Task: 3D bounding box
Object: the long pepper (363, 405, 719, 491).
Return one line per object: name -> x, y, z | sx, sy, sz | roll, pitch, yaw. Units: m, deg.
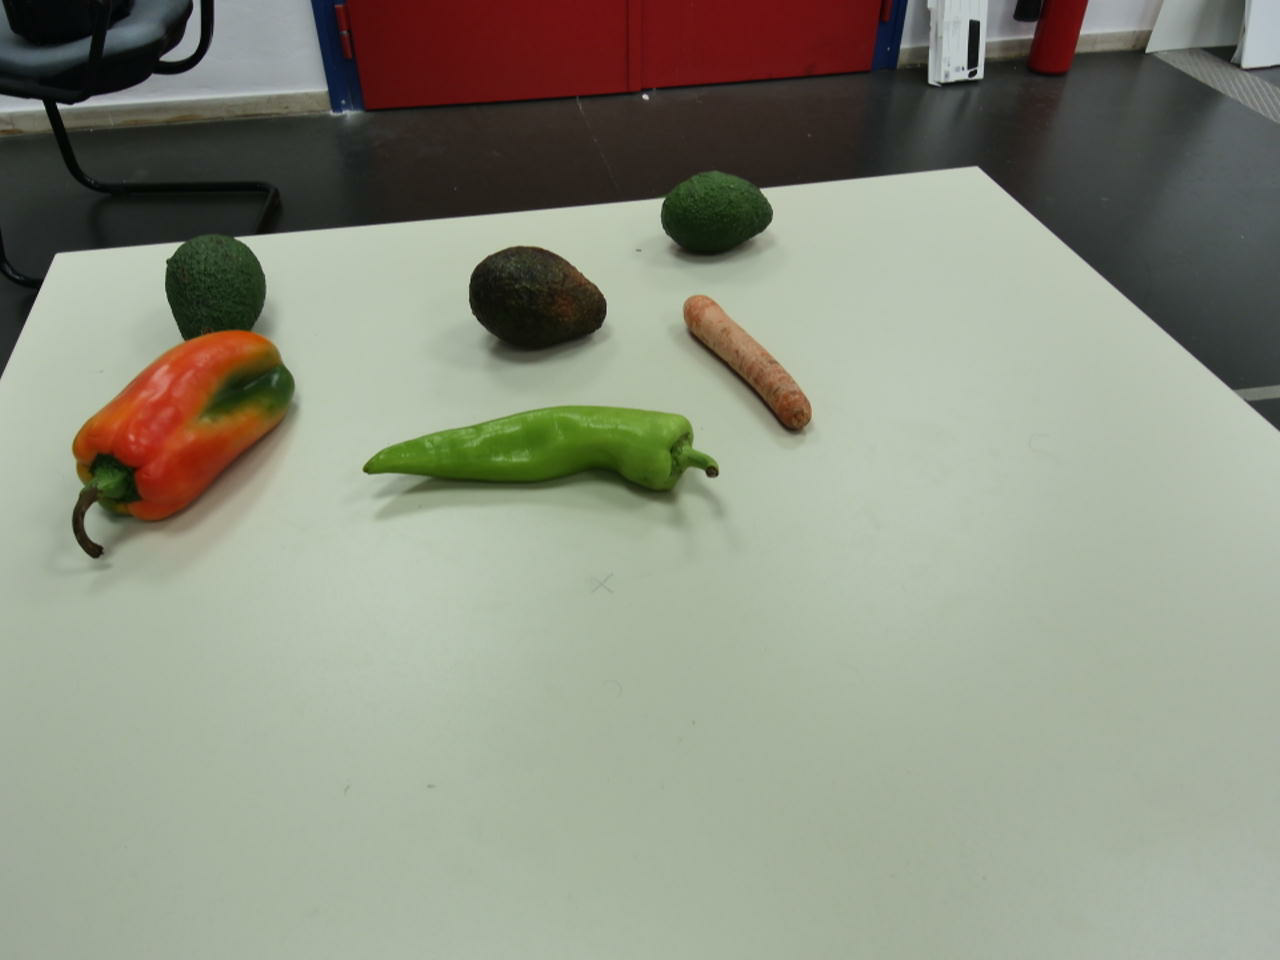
long pepper -> -0.055, -0.019, 0.589 | 0.205, 0.045, 0.065 | 3, 39, 3
